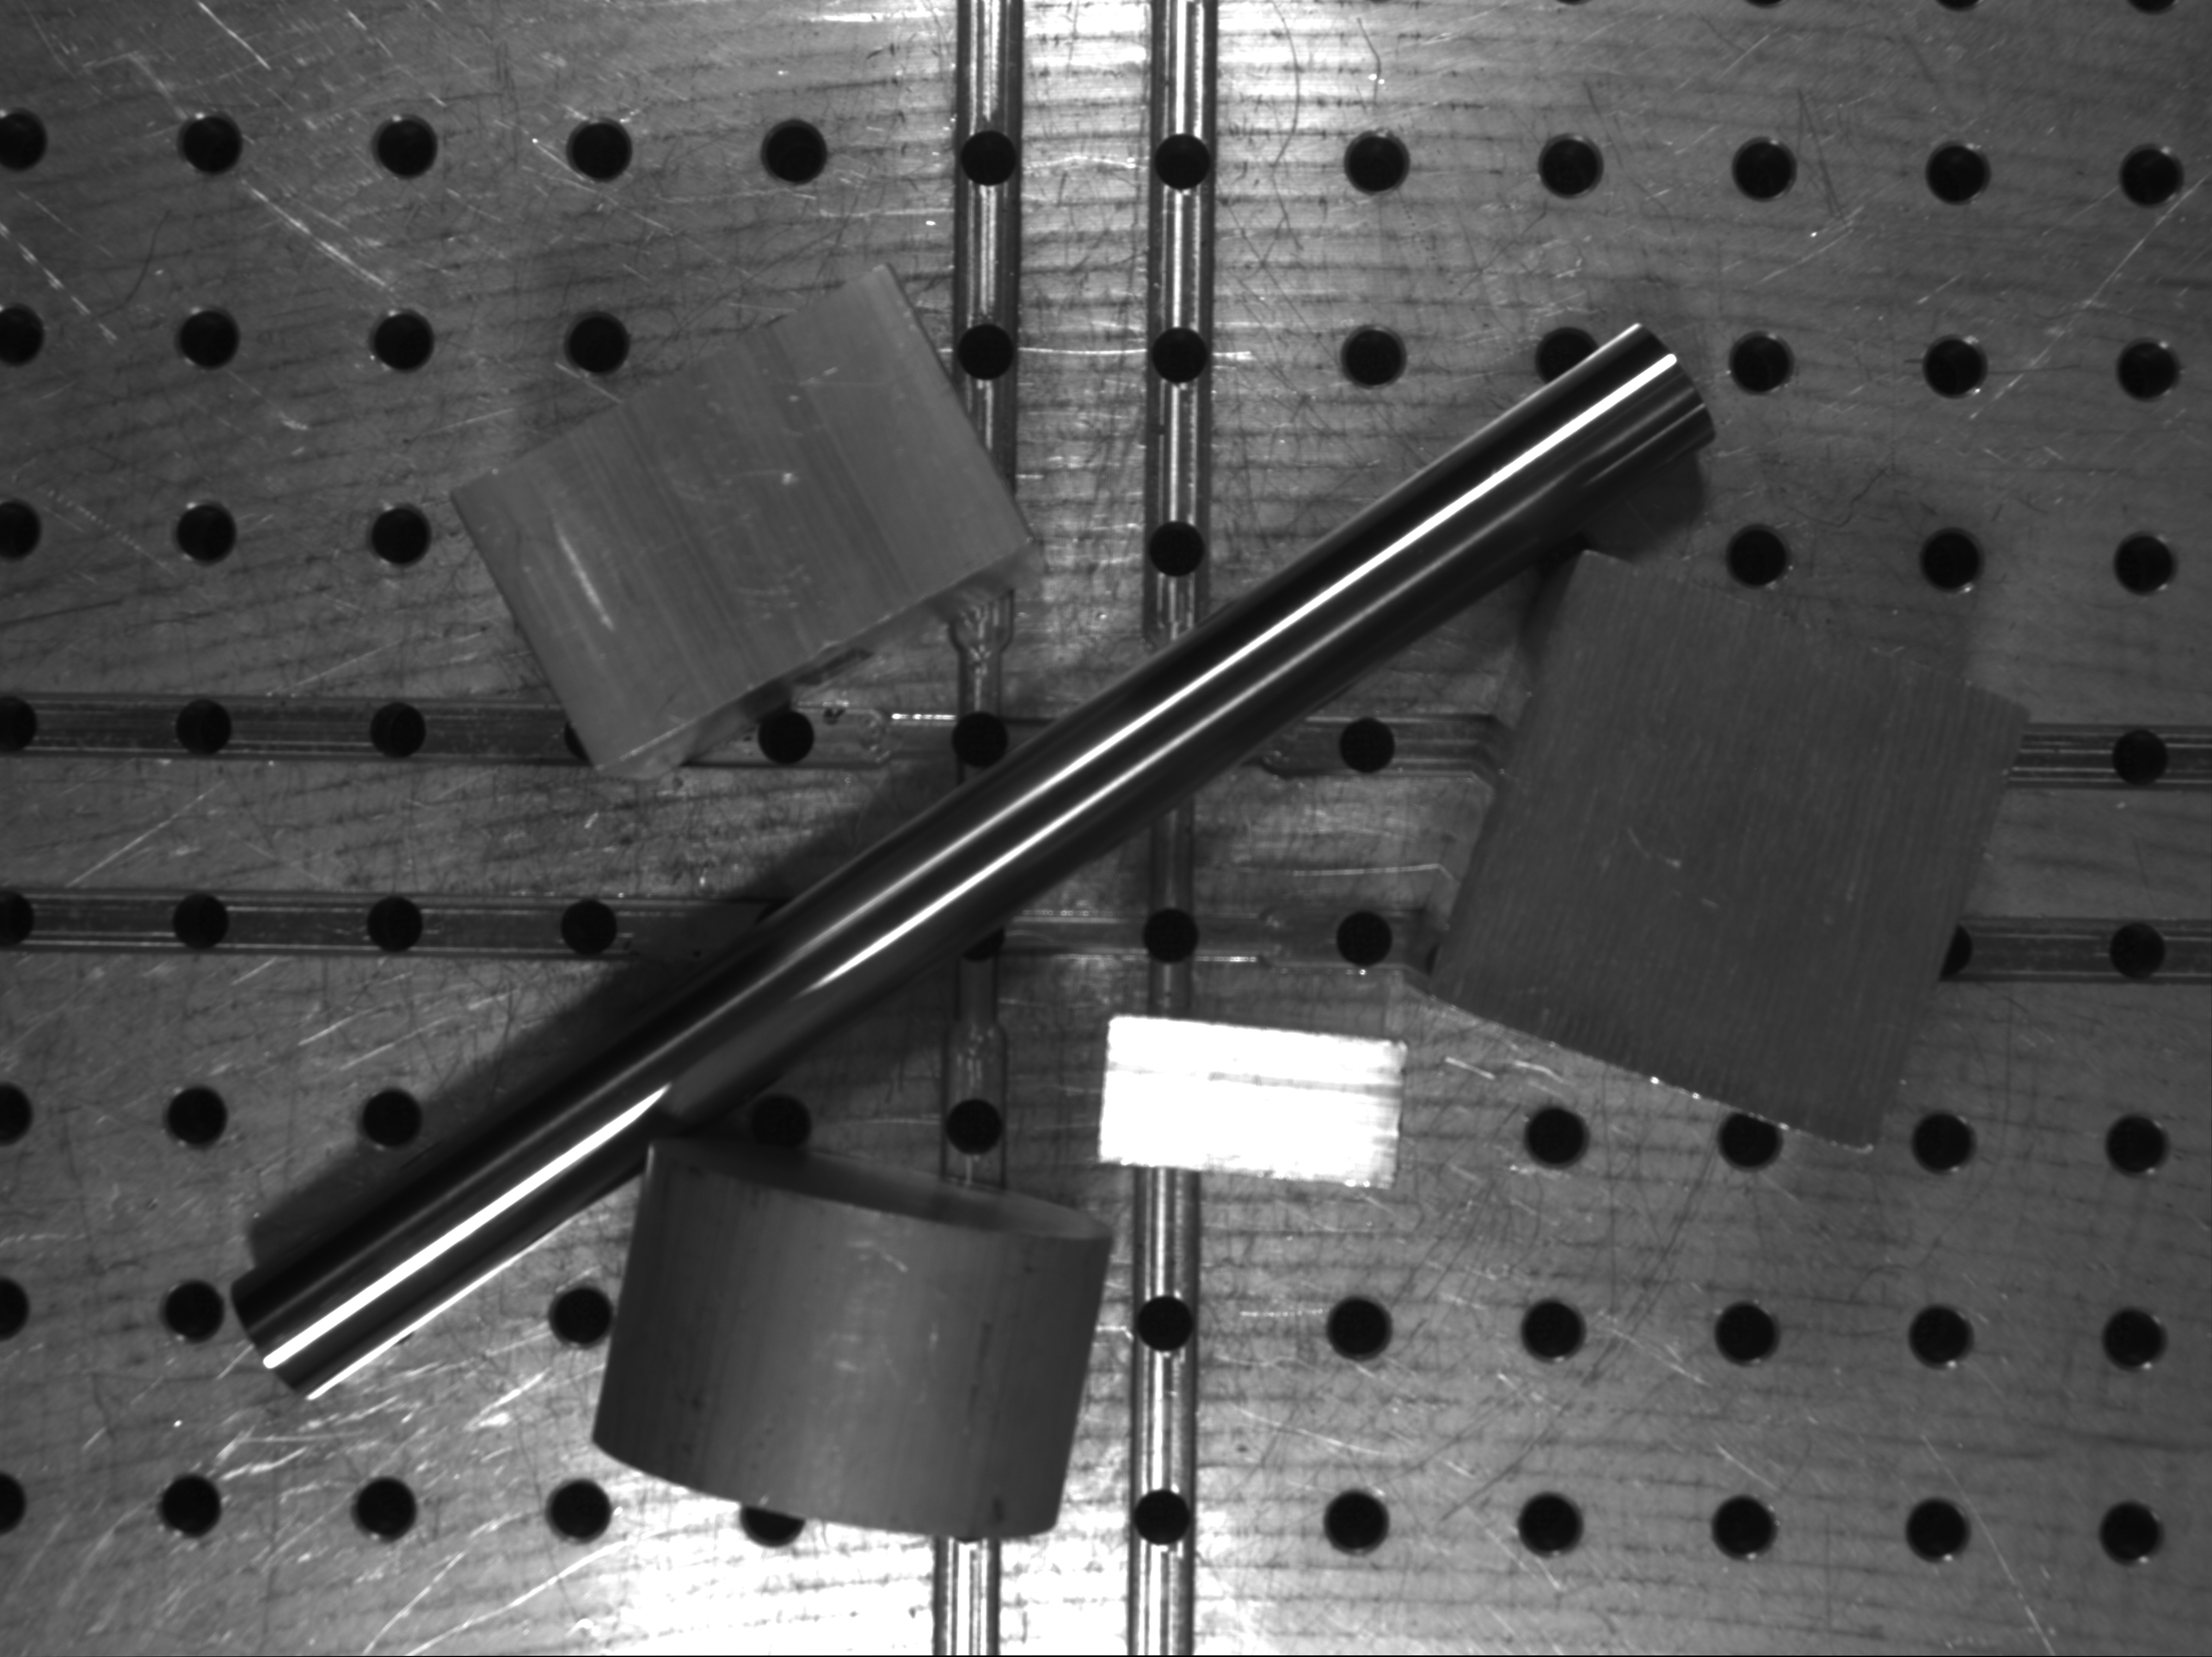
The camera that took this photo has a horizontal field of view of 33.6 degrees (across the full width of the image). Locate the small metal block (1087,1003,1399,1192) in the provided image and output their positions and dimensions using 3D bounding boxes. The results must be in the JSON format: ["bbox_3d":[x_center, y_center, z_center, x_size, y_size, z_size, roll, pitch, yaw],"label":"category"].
[{"bbox_3d":[0.023,0.046,0.635,0.050,0.050,0.025,5,90,0],"label":"small metal block"}]

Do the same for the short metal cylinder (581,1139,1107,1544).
[{"bbox_3d":[-0.044,0.085,0.619,0.080,0.080,0.050,12,90,0],"label":"short metal cylinder"}]

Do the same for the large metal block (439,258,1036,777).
[{"bbox_3d":[-0.059,-0.049,0.620,0.080,0.080,0.050,-28,90,0],"label":"large metal block"}]

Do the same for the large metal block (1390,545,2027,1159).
[{"bbox_3d":[0.102,0.004,0.633,0.080,0.050,0.080,19,90,0],"label":"large metal block"}]

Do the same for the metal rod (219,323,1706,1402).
[{"bbox_3d":[-0.025,0.006,0.647,0.300,0.025,0.025,-34,90,0],"label":"metal rod"}]
